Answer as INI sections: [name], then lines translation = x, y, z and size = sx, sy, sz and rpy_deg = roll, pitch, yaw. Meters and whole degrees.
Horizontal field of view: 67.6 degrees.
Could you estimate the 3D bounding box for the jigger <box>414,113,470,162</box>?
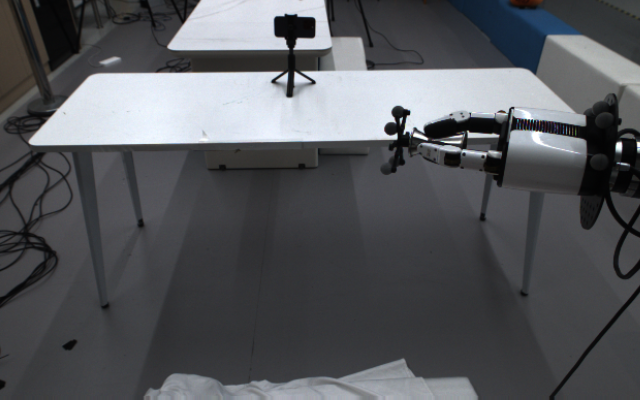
[jigger]
translation = 0.159, -0.075, 0.632
size = 0.071, 0.043, 0.043
rpy_deg = 10, 35, 22
